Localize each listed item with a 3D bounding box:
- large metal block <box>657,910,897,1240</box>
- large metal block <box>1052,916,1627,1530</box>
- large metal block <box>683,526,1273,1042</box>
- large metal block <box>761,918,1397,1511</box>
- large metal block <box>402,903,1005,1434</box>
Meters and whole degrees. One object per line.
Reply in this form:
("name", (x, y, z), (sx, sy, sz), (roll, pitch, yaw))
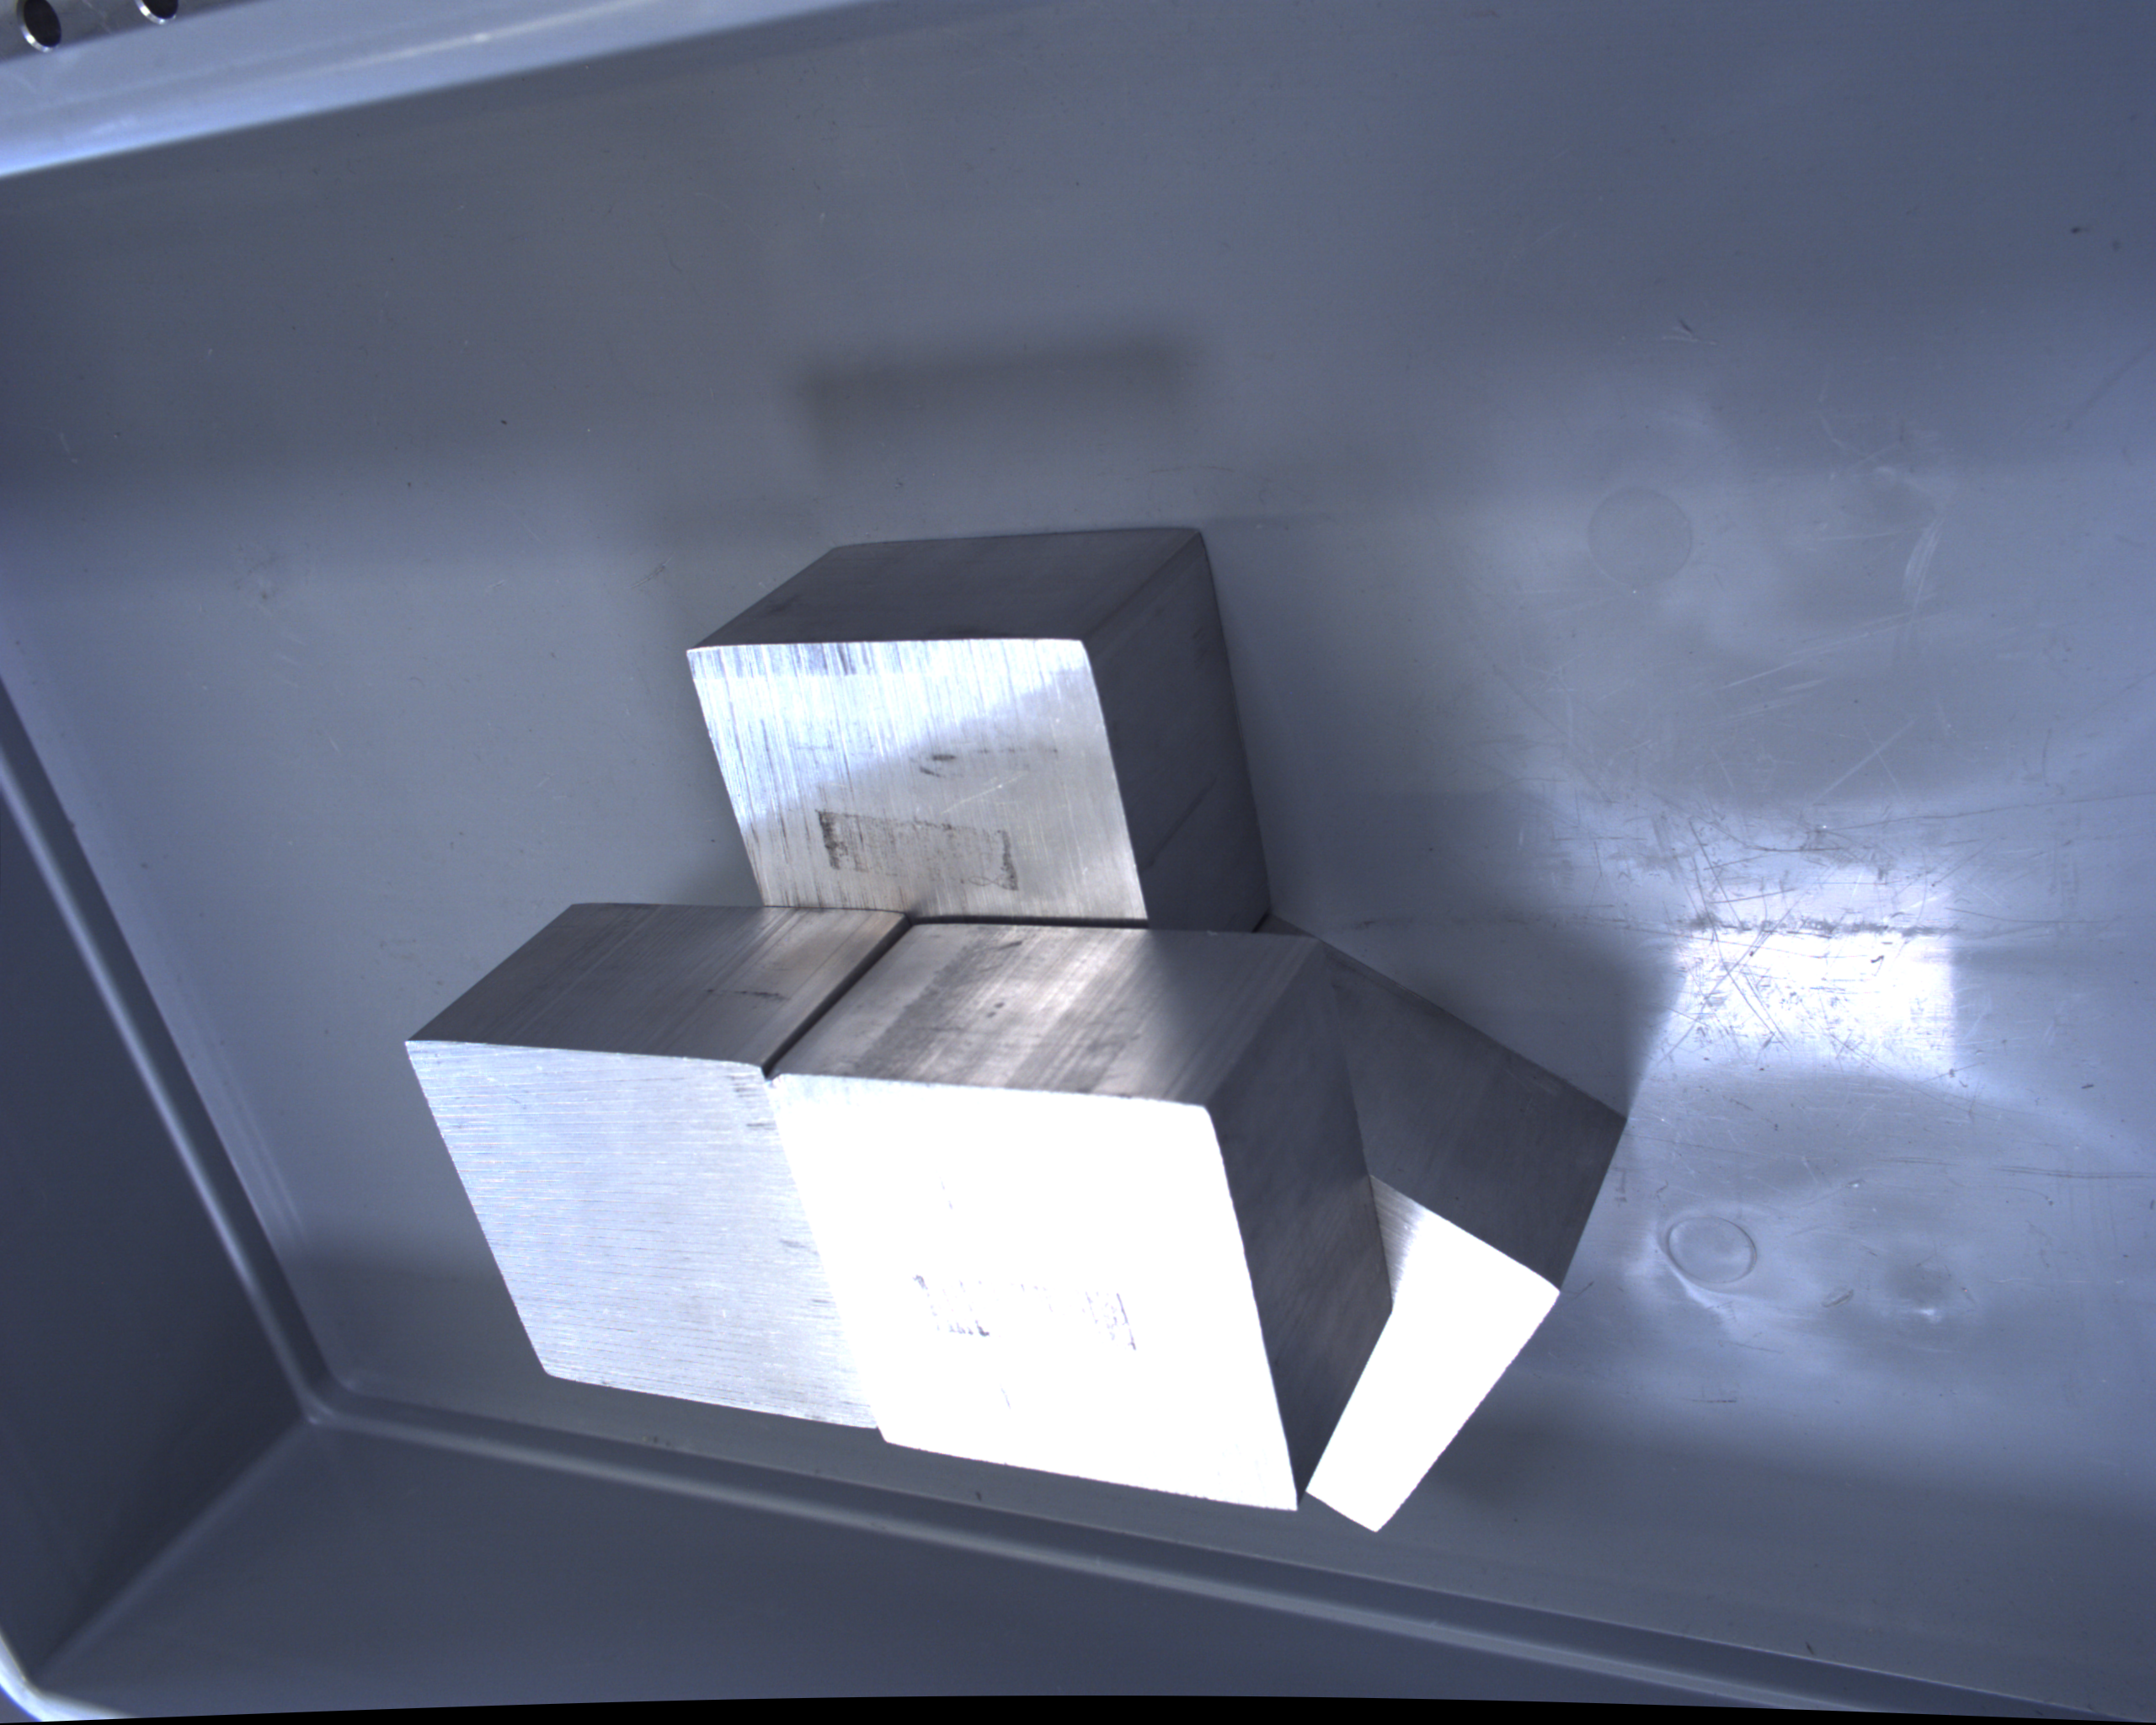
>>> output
("large metal block", (-0.048, 0.064, 0.455), (0.080, 0.050, 0.080), (-29, 103, 37))
("large metal block", (0.047, 0.070, 0.407), (0.080, 0.050, 0.079), (30, 128, 9))
("large metal block", (-0.016, -0.015, 0.390), (0.080, 0.050, 0.080), (2, 119, 27))
("large metal block", (0.003, 0.058, 0.358), (0.080, 0.050, 0.080), (1, 119, 28))
("large metal block", (-0.068, 0.055, 0.396), (0.080, 0.050, 0.080), (1, 119, 28))
